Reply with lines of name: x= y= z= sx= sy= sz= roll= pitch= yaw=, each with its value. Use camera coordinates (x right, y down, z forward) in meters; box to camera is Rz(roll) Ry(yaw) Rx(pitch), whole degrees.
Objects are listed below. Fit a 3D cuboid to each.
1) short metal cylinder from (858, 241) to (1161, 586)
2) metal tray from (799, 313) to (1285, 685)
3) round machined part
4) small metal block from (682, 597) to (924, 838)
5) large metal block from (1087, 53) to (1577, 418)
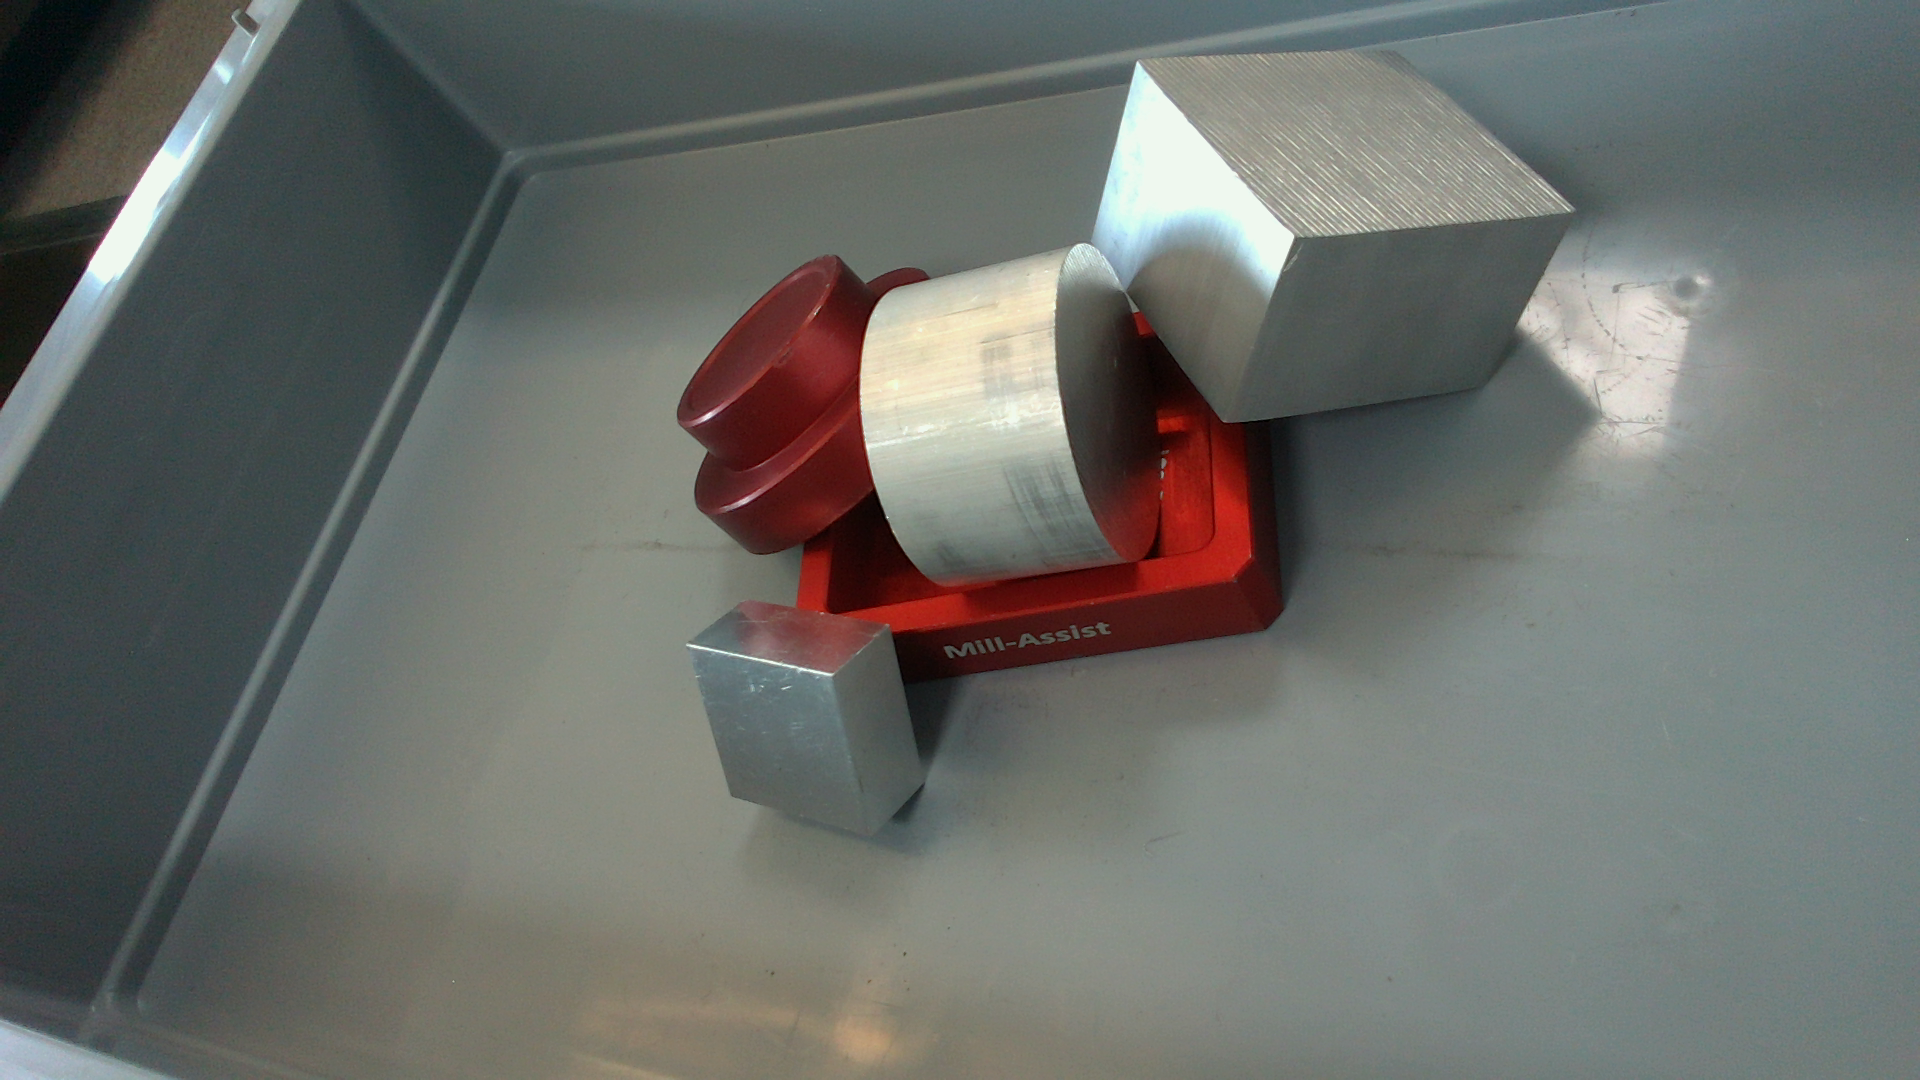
short metal cylinder: x=0.015 y=-0.031 z=0.351 sx=0.050 sy=0.080 sz=0.080 roll=-8 pitch=58 yaw=23
metal tray: x=0.021 y=-0.012 z=0.387 sx=0.130 sy=0.030 sz=0.090 roll=-11 pitch=57 yaw=23
round machined part: x=-0.047 y=-0.047 z=0.411 sx=0.098 sy=0.042 sz=0.098 roll=-37 pitch=25 yaw=21
small metal block: x=-0.041 y=0.046 z=0.367 sx=0.050 sy=0.050 sz=0.025 roll=8 pitch=31 yaw=33
large metal block: x=0.090 y=-0.081 z=0.352 sx=0.080 sy=0.050 sz=0.080 roll=-10 pitch=48 yaw=-22
